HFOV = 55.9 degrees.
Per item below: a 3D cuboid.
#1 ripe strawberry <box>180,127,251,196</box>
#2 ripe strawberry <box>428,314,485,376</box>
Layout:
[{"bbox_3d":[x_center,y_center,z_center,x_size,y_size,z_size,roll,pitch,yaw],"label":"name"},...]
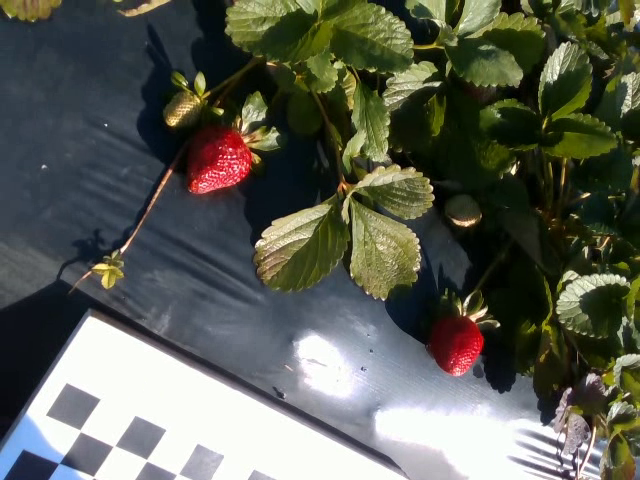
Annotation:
[{"bbox_3d":[-0.061,-0.043,0.340,0.043,0.053,0.042,-23,-58,36],"label":"ripe strawberry"},{"bbox_3d":[0.092,0.076,0.412,0.043,0.043,0.050,-7,24,26],"label":"ripe strawberry"}]
